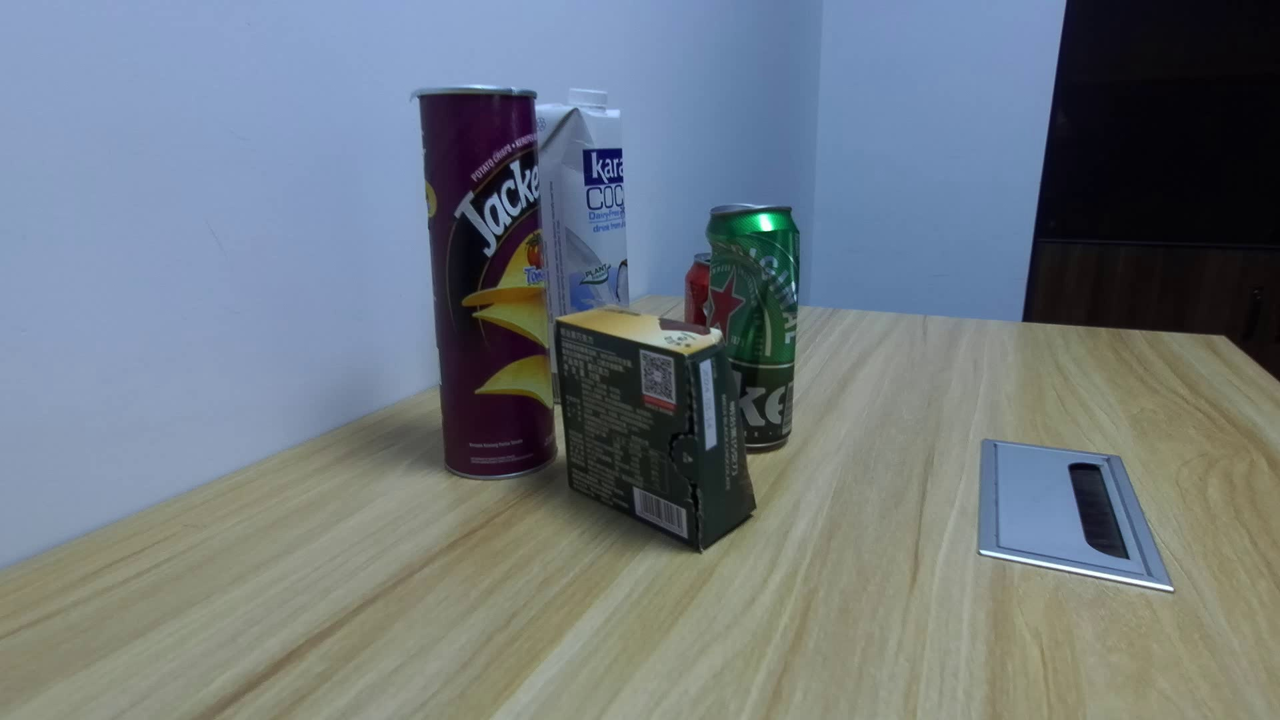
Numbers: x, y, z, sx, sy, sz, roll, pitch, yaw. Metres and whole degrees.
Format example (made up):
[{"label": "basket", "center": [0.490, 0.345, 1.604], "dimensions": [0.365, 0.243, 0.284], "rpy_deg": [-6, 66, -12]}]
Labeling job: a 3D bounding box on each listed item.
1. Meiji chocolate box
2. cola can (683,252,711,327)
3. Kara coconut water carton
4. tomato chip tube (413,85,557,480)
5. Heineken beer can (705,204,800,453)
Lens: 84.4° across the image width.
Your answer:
[{"label": "Meiji chocolate box", "center": [0.009, 0.031, 0.398], "dimensions": [0.112, 0.111, 0.058], "rpy_deg": [15, 26, 43]}, {"label": "cola can", "center": [0.077, -0.033, 0.604], "dimensions": [0.072, 0.117, 0.065], "rpy_deg": [-8, 22, -10]}, {"label": "Kara coconut water carton", "center": [-0.051, -0.089, 0.573], "dimensions": [0.075, 0.245, 0.077], "rpy_deg": [7, 18, 29]}, {"label": "tomato chip tube", "center": [-0.096, -0.046, 0.456], "dimensions": [0.076, 0.234, 0.080], "rpy_deg": [12, 20, 40]}, {"label": "Heineken beer can", "center": [0.074, -0.021, 0.485], "dimensions": [0.066, 0.164, 0.078], "rpy_deg": [3, 12, 13]}]
